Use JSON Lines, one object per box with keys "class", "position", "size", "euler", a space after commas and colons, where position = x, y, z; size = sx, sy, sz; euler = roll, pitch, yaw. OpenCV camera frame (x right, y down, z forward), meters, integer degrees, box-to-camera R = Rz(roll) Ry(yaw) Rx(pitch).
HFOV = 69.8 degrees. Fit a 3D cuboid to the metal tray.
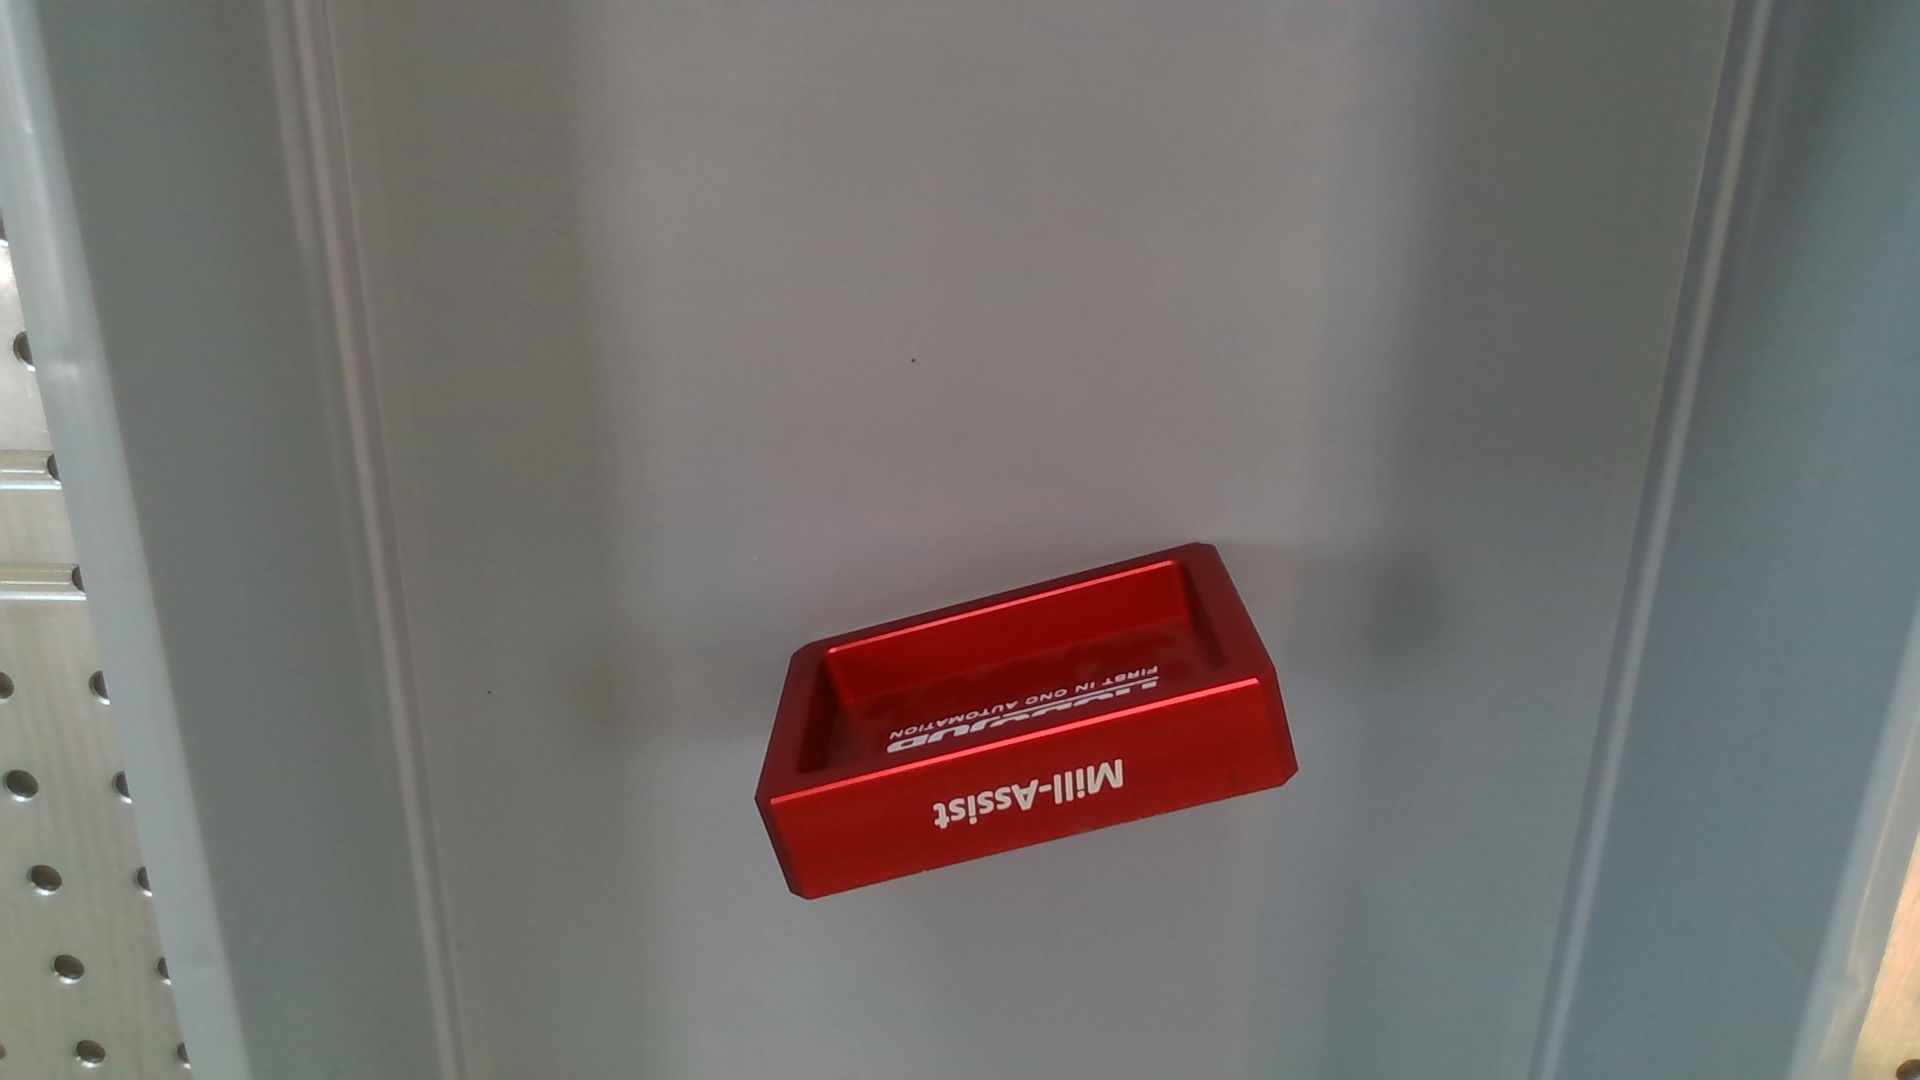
{"class": "metal tray", "position": [0.015, 0.045, 0.373], "size": [0.130, 0.090, 0.030], "euler": [-15, 110, 6]}
